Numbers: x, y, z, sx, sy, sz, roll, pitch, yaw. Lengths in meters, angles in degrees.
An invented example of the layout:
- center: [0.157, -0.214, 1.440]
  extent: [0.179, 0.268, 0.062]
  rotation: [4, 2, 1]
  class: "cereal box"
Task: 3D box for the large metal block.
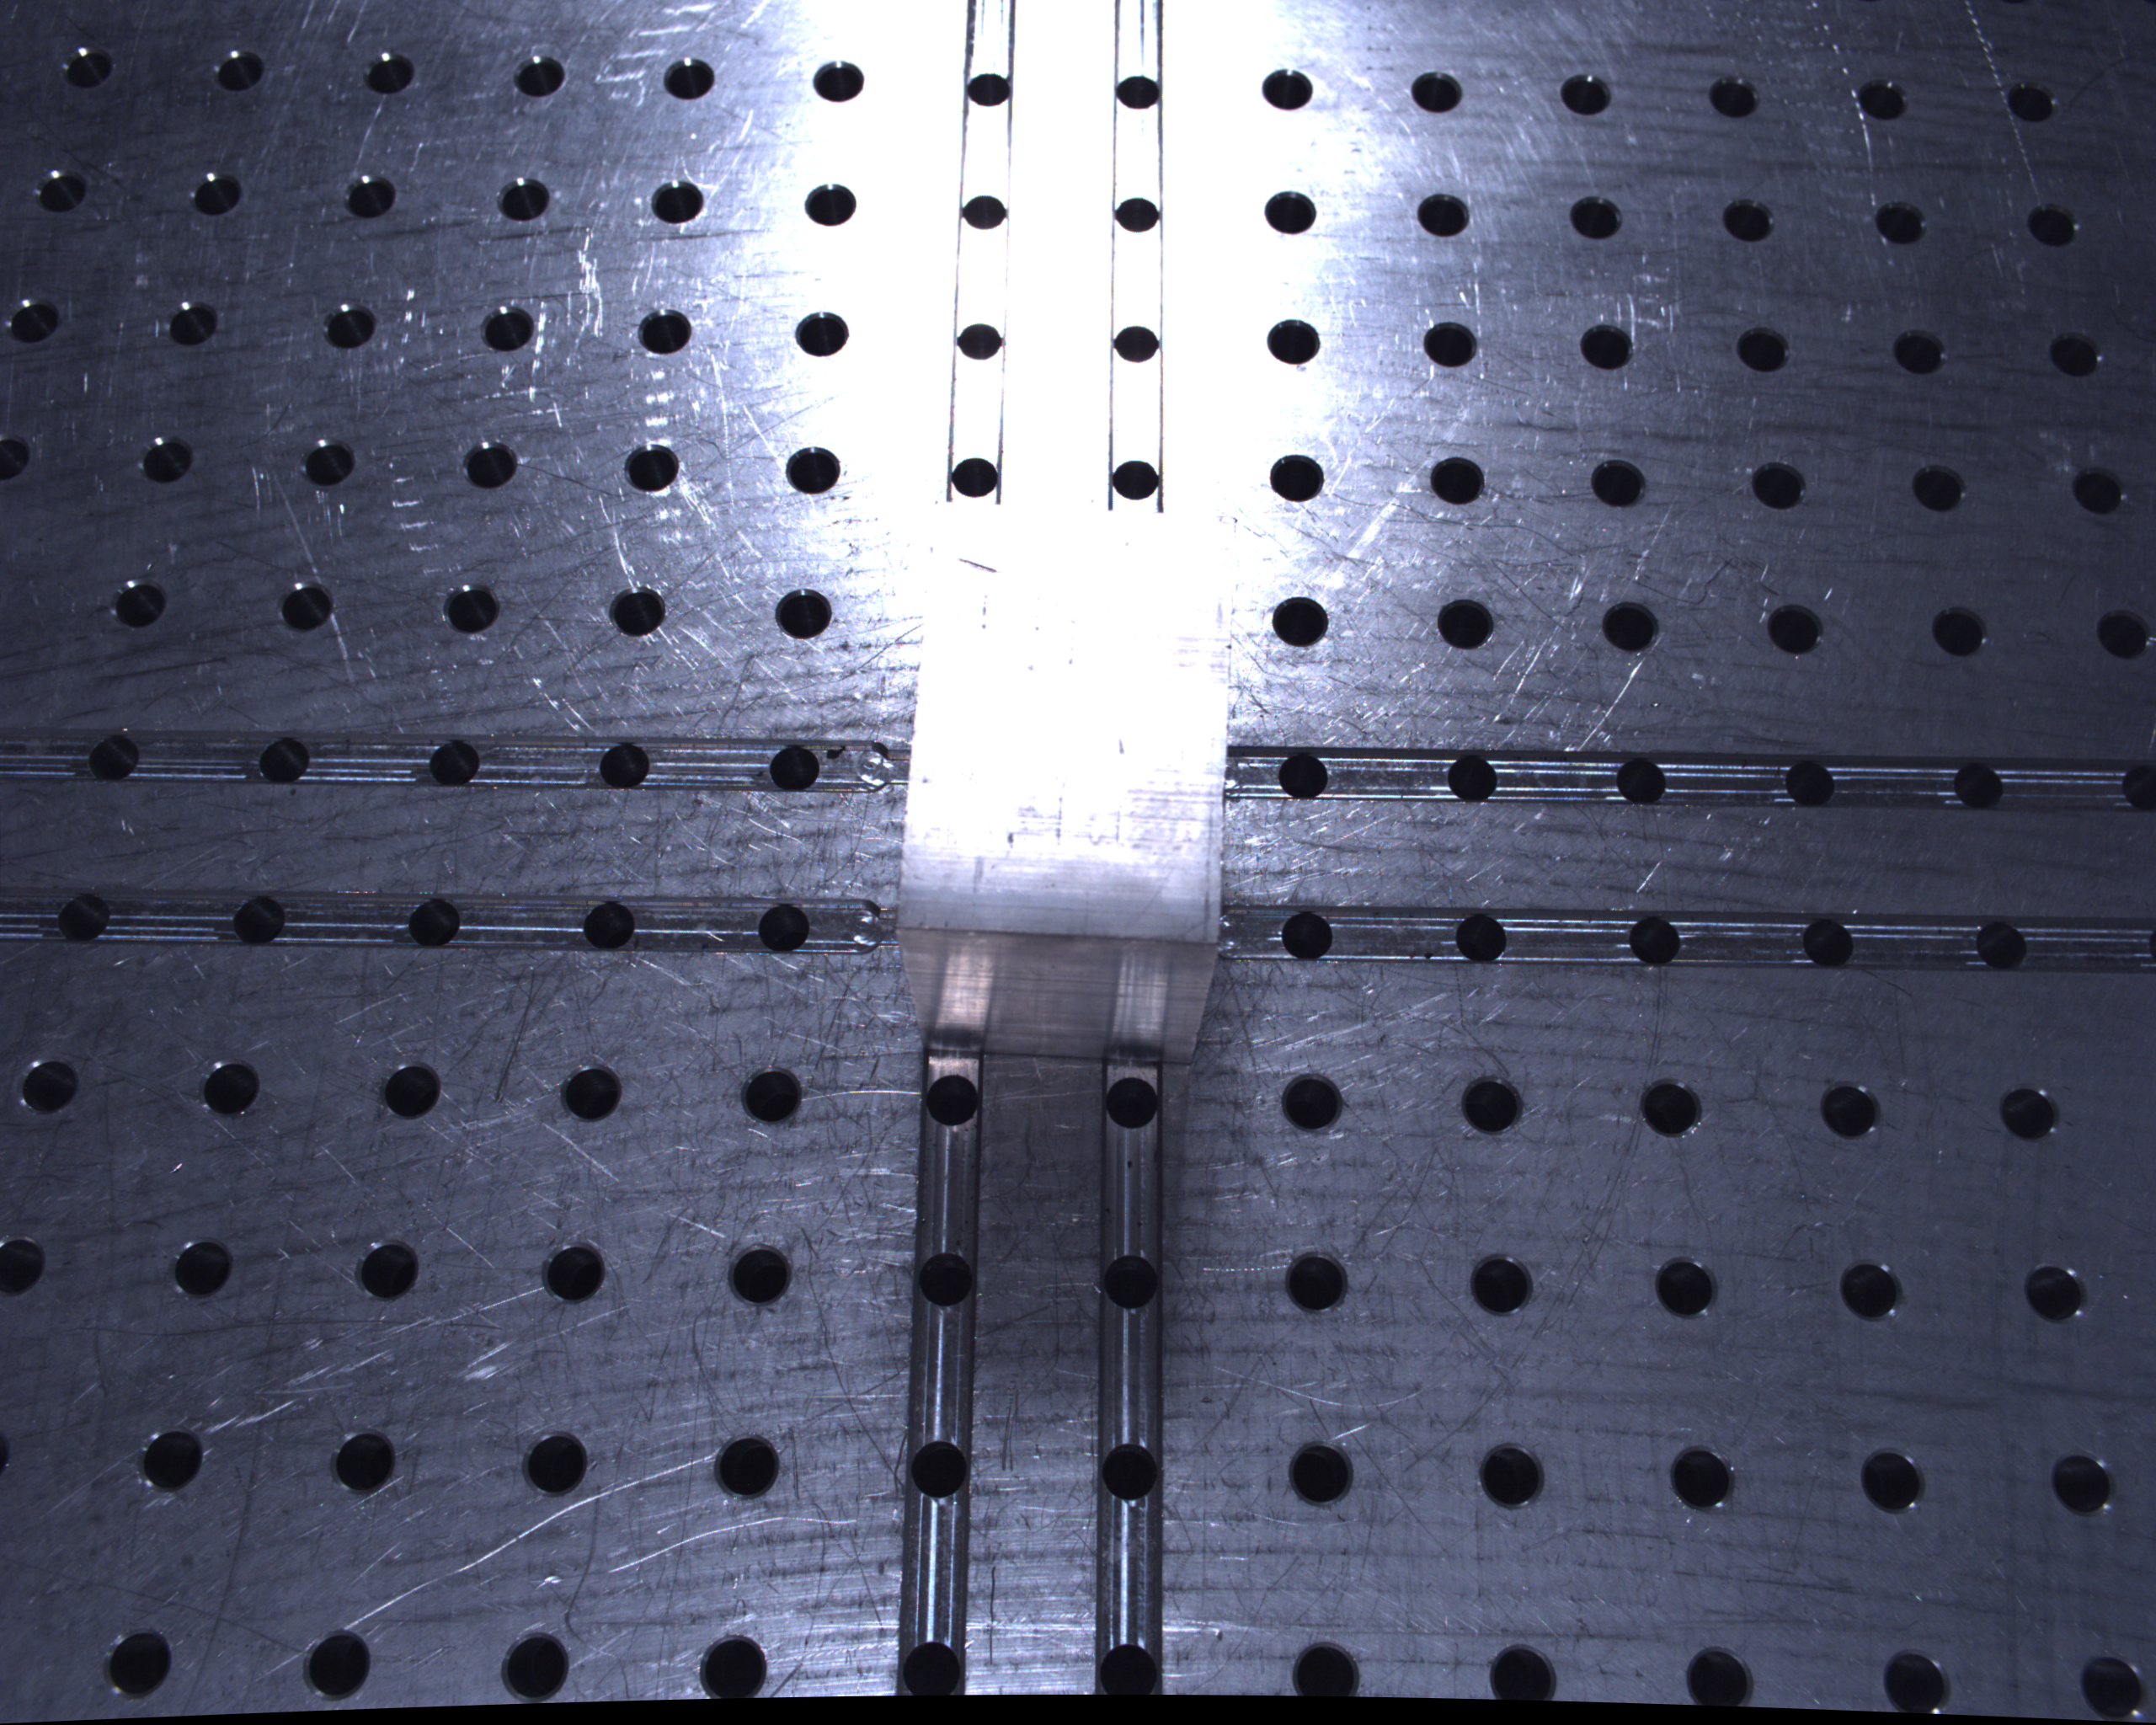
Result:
- center: [-0.001, -0.012, 0.386]
  extent: [0.050, 0.080, 0.080]
  rotation: [3, 70, 1]
  class: "large metal block"
